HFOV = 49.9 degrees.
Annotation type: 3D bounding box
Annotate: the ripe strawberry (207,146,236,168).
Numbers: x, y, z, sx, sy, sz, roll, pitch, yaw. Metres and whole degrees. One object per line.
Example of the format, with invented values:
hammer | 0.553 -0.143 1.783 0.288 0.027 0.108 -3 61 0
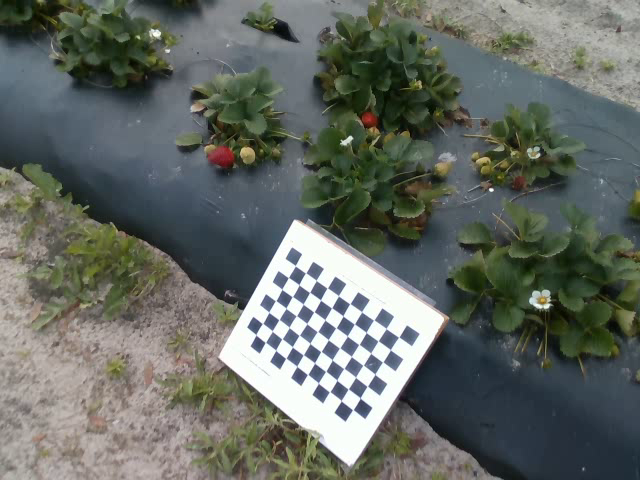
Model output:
ripe strawberry | -0.190 -0.157 1.289 0.046 0.046 0.059 27 28 27
